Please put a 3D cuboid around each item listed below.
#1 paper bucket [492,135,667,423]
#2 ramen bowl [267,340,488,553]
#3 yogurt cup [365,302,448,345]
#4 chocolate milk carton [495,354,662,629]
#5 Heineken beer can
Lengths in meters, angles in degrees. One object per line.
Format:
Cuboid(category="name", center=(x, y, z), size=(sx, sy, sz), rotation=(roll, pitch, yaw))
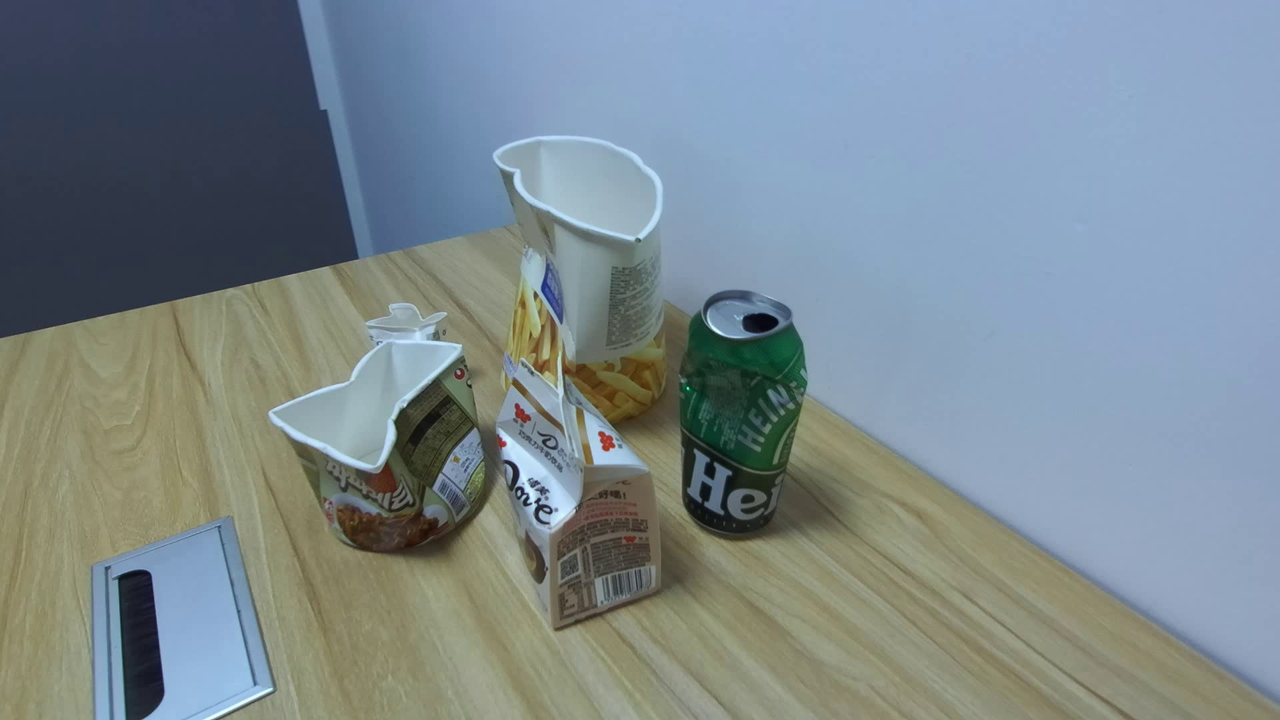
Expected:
Cuboid(category="paper bucket", center=(-0.047, -0.063, 0.581), size=(0.217, 0.199, 0.148), rotation=(22, 39, 32))
Cuboid(category="ramen bowl", center=(-0.166, 0.057, 0.495), size=(0.111, 0.093, 0.128), rotation=(16, 36, 23))
Cuboid(category="yogurt cup", center=(-0.199, -0.010, 0.627), size=(0.054, 0.072, 0.055), rotation=(14, 36, 18))
Cuboid(category="chocolate milk carton", center=(-0.036, 0.072, 0.415), size=(0.074, 0.156, 0.076), rotation=(-16, 36, -19))
Cuboid(category="Heineken beer can", center=(0.062, 0.037, 0.460), size=(0.066, 0.164, 0.077), rotation=(-3, 34, -4))
